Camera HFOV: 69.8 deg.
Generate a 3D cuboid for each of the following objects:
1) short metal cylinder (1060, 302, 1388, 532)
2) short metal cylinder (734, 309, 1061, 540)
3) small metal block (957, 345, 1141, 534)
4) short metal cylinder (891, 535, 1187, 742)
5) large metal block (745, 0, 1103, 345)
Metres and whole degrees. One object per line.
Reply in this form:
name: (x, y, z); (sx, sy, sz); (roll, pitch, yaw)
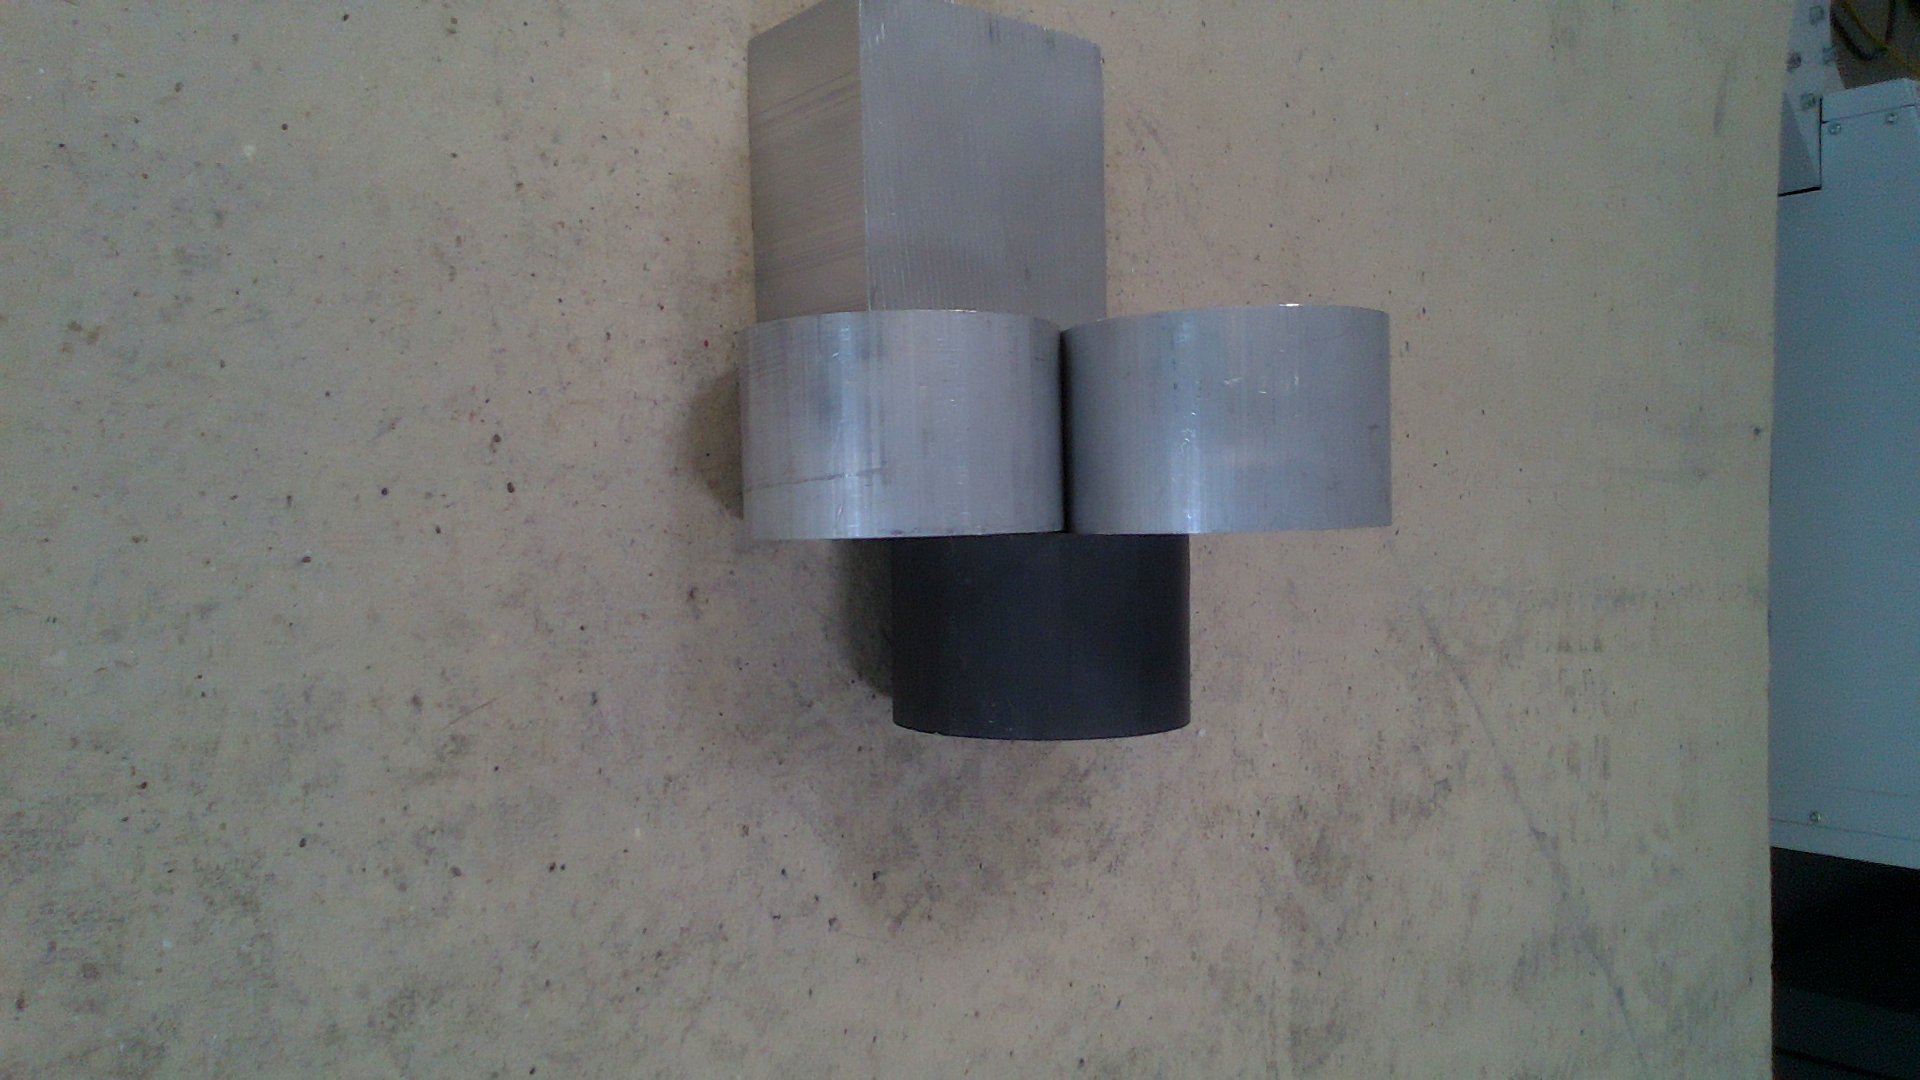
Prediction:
short metal cylinder: (0.065, -0.028, 0.343); (0.080, 0.080, 0.050); (-3, 92, -40)
short metal cylinder: (-0.015, -0.027, 0.342); (0.080, 0.080, 0.050); (-3, 92, -40)
small metal block: (0.025, -0.027, 0.396); (0.025, 0.050, 0.050); (1, 89, -40)
short metal cylinder: (0.021, 0.024, 0.372); (0.080, 0.080, 0.050); (0, 90, -40)
large metal block: (-0.008, -0.093, 0.367); (0.080, 0.050, 0.080); (-2, 92, -40)
